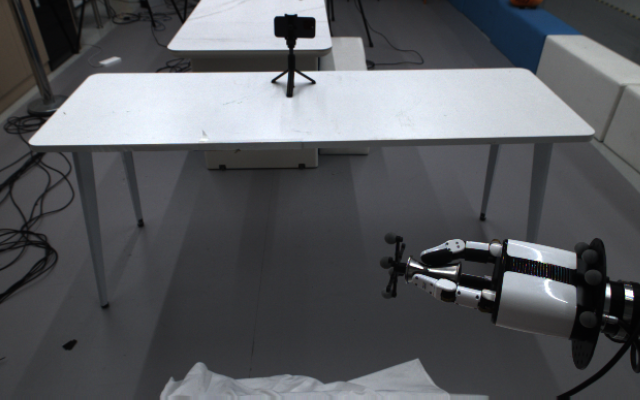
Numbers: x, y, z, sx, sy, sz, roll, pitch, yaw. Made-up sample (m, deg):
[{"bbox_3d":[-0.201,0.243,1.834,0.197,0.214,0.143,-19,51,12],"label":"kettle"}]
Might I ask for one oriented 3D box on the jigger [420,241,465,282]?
[{"bbox_3d":[0.159,0.096,0.654,0.071,0.043,0.043,7,34,21],"label":"jigger"}]
